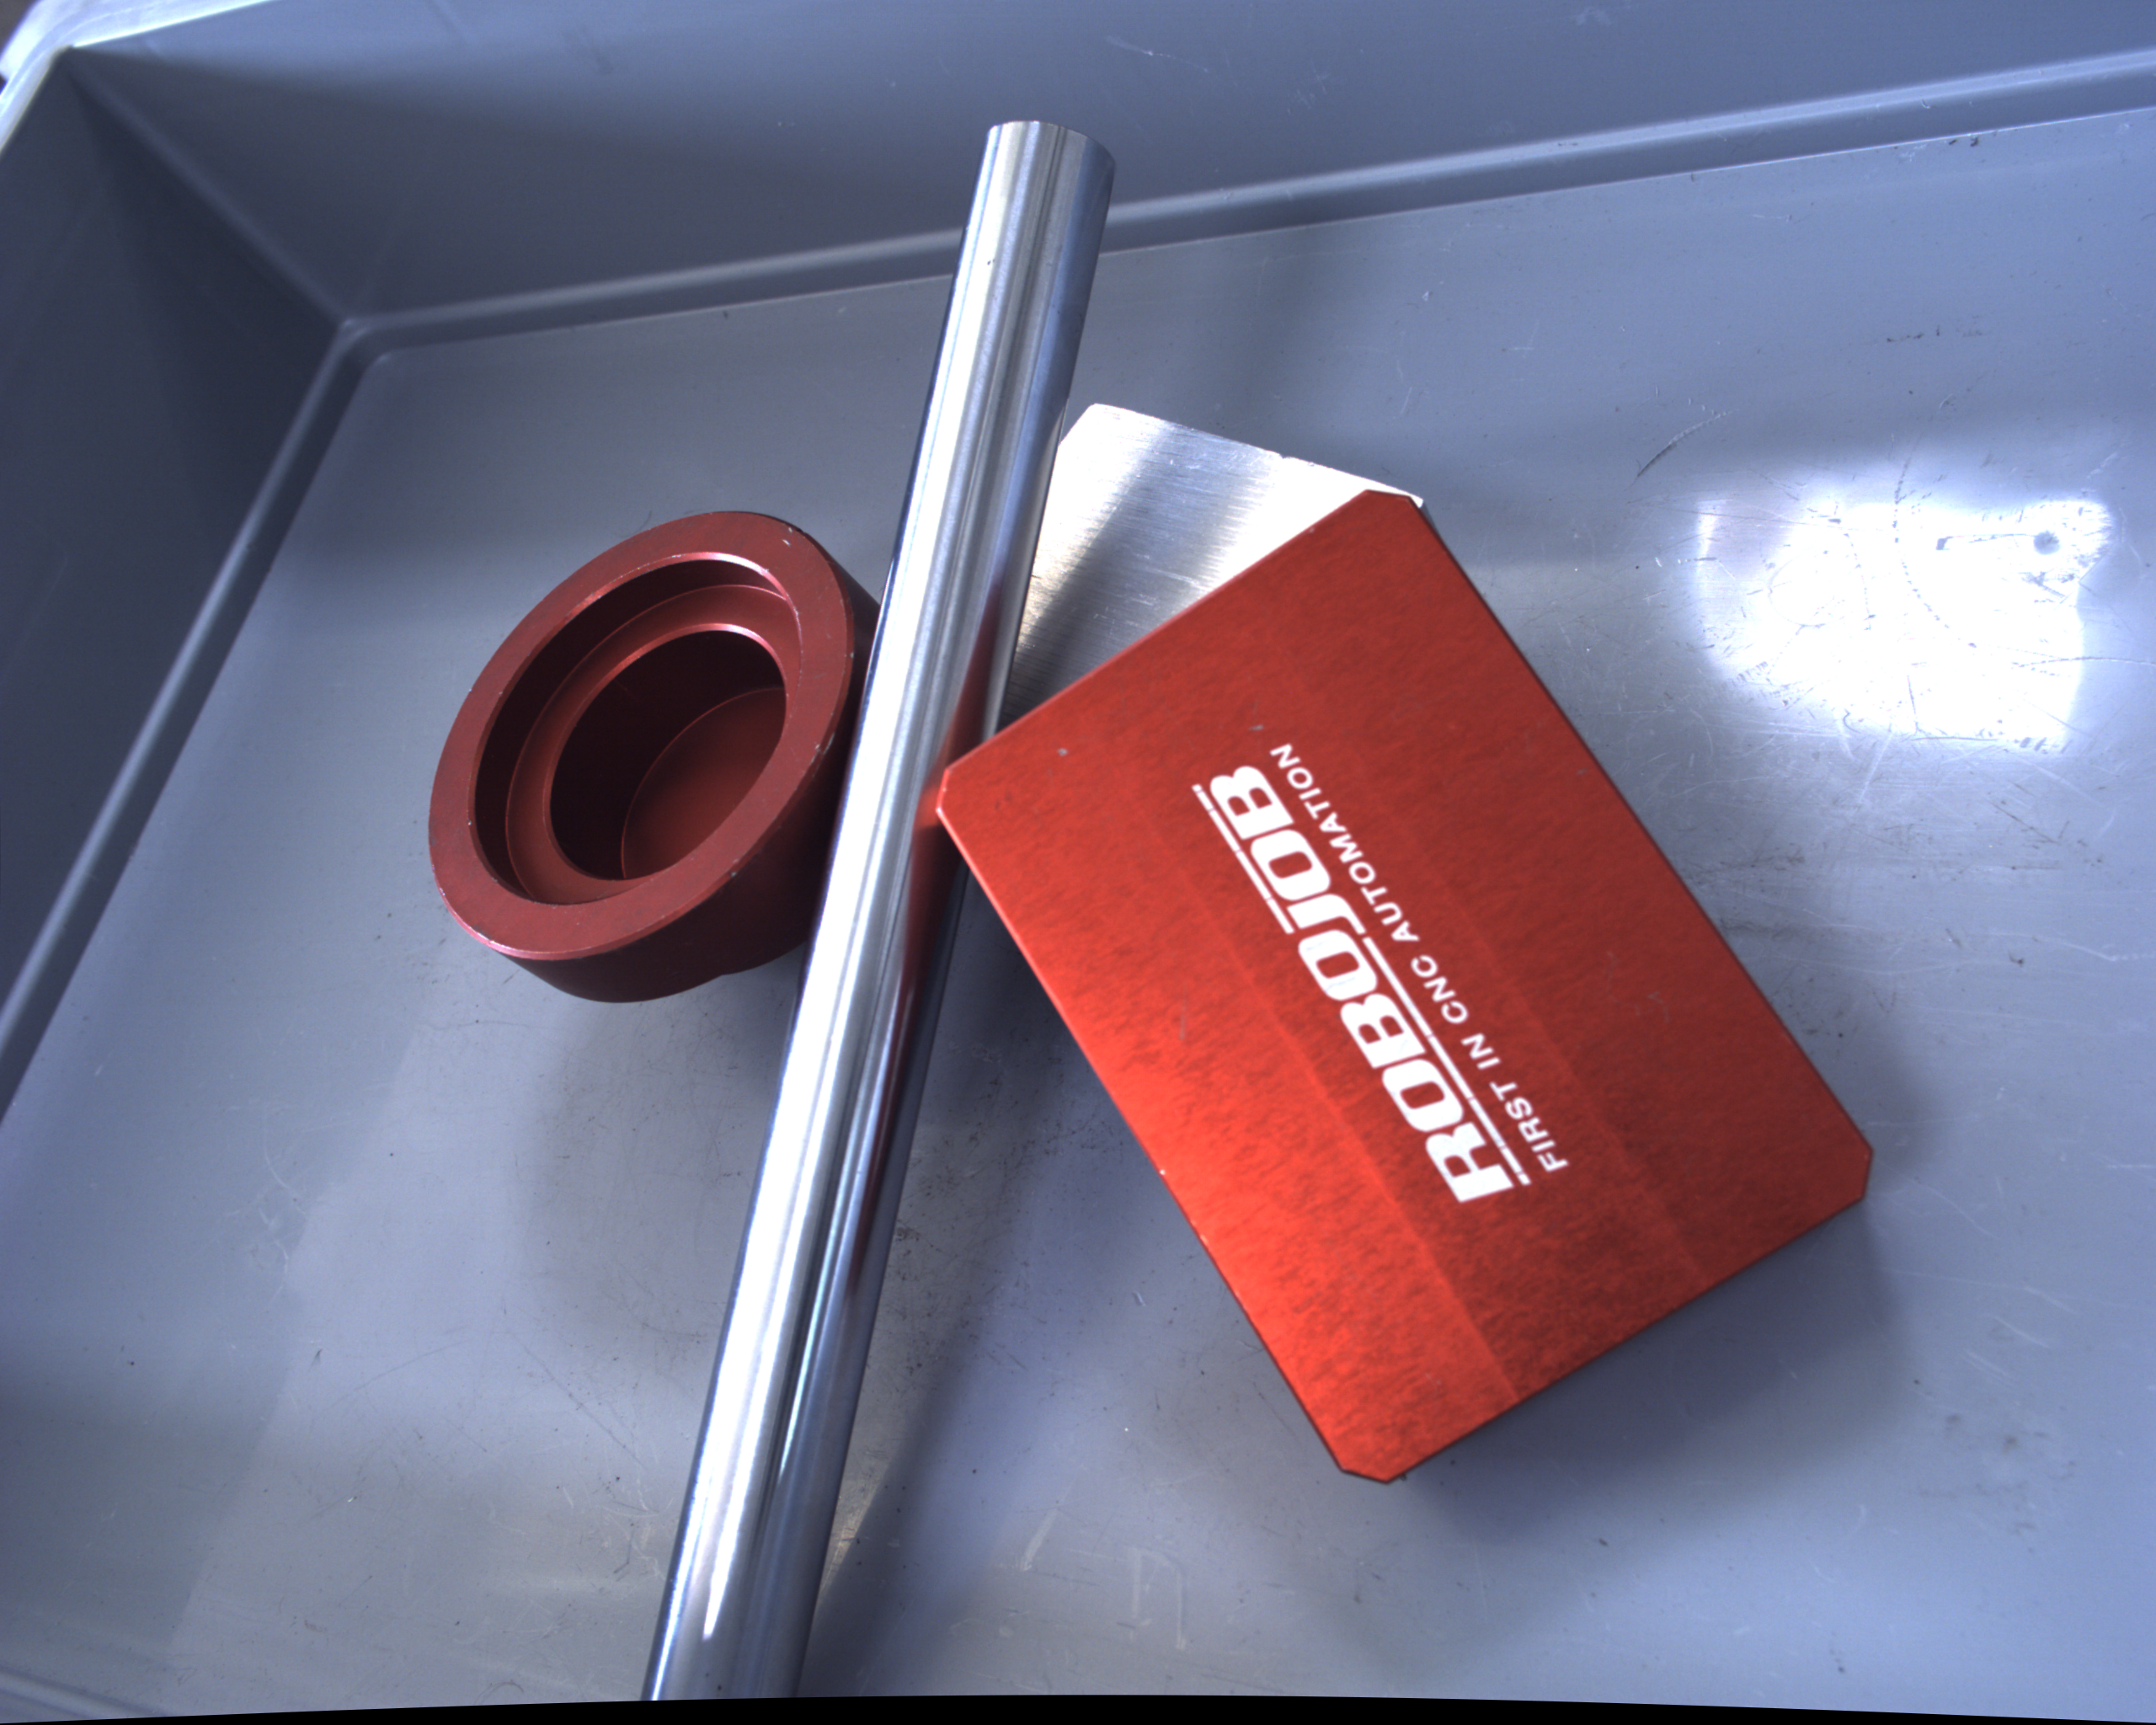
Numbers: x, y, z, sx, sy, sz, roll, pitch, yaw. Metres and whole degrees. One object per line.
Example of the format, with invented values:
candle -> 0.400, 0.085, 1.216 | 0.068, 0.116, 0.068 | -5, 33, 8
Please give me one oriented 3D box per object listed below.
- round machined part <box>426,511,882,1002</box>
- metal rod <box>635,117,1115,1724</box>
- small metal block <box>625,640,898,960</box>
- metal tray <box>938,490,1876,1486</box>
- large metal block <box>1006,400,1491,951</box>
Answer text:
round machined part -> -0.075, -0.017, 0.407 | 0.098, 0.042, 0.098 | -15, 55, 23
metal rod -> -0.034, 0.015, 0.362 | 0.025, 0.025, 0.299 | 6, 80, 31
small metal block -> -0.069, -0.013, 0.449 | 0.050, 0.025, 0.050 | -20, 54, 16
metal tray -> 0.049, 0.018, 0.331 | 0.090, 0.030, 0.130 | -34, 76, 6
large metal block -> 0.020, -0.033, 0.398 | 0.080, 0.050, 0.080 | 25, 75, 36
